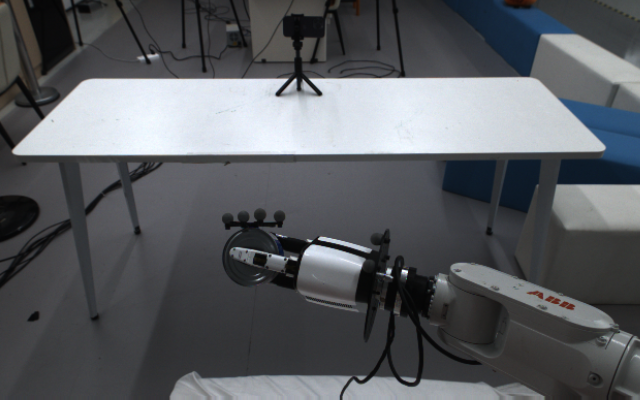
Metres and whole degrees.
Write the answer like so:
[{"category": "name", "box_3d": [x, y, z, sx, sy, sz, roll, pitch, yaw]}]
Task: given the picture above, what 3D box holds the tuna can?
[{"category": "tuna can", "box_3d": [-0.091, 0.085, 0.709, 0.085, 0.085, 0.034, 10, -6, 11]}]
